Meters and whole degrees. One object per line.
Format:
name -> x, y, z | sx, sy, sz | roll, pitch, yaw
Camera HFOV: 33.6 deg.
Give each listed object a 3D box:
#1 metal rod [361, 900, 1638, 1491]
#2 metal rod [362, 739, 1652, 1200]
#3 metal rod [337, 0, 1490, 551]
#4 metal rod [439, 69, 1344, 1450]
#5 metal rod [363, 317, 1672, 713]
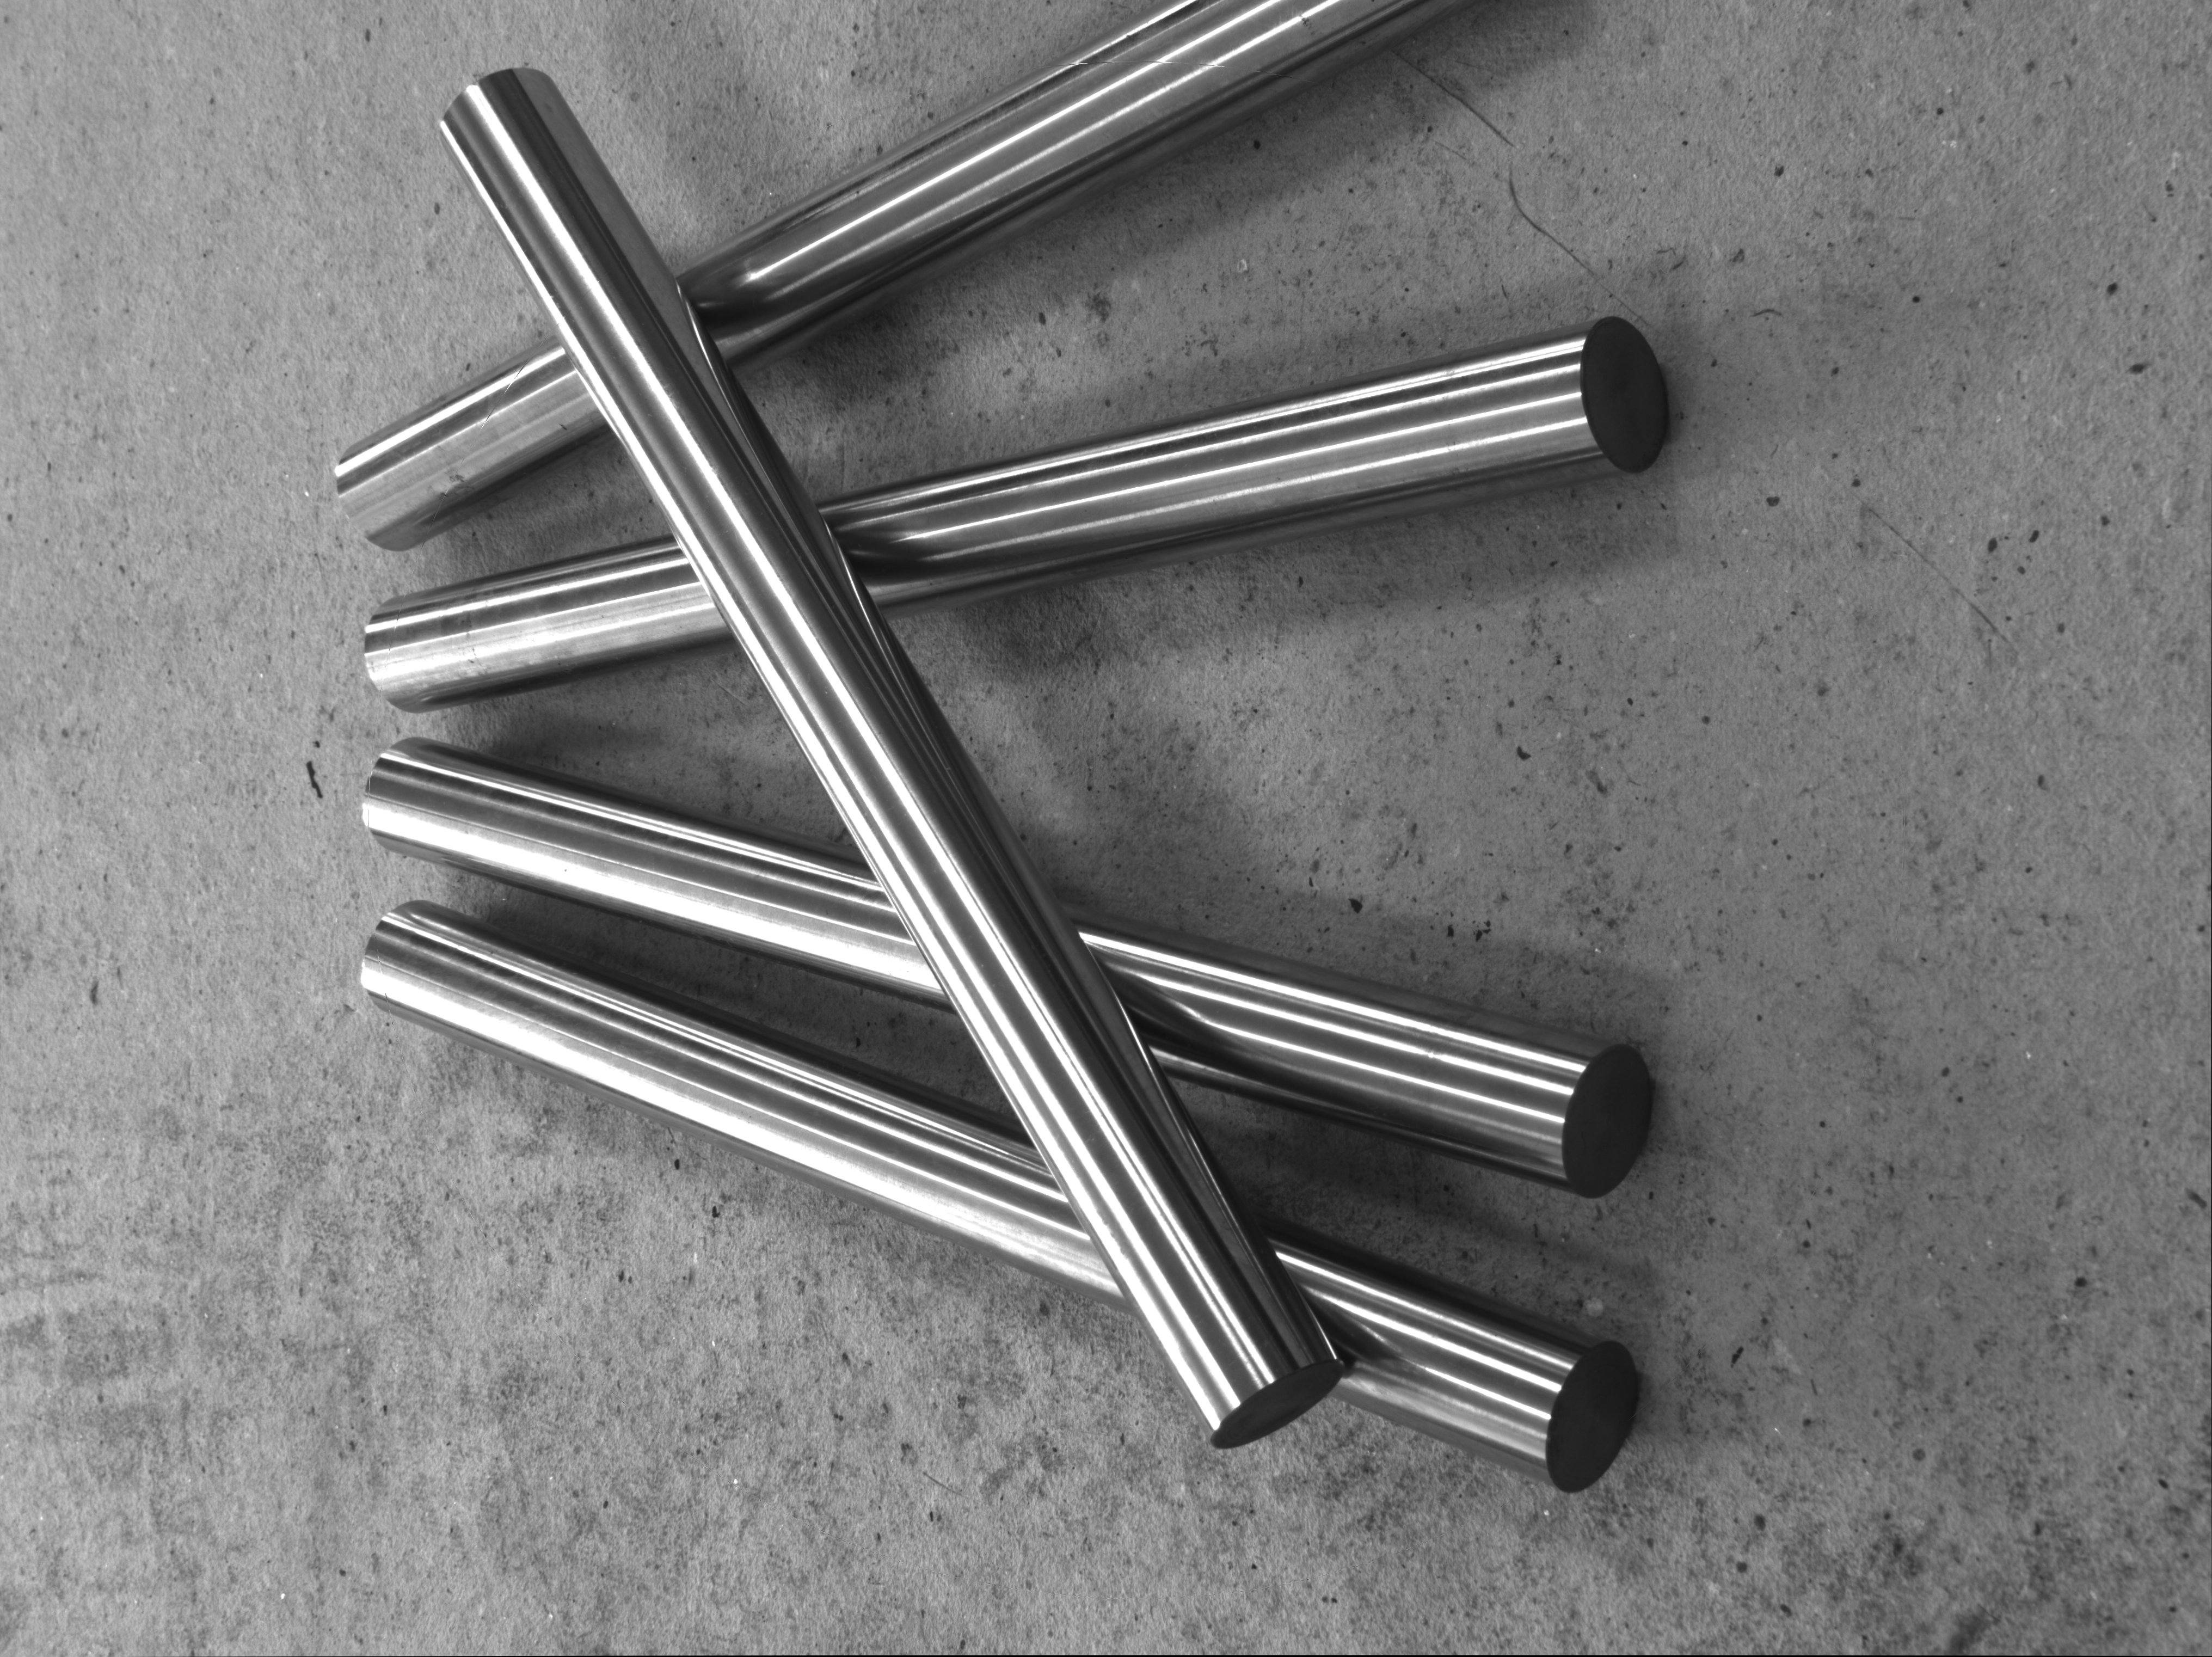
metal rod -> -0.034, 0.060, 0.674 | 0.299, 0.025, 0.025 | 16, 100, 39
metal rod -> -0.033, 0.020, 0.673 | 0.299, 0.025, 0.025 | 13, 98, 39
metal rod -> -0.042, -0.110, 0.681 | 0.299, 0.025, 0.025 | -20, 77, 38
metal rod -> -0.045, -0.023, 0.650 | 0.025, 0.025, 0.299 | -47, 62, 30
metal rod -> -0.032, -0.052, 0.672 | 0.299, 0.025, 0.025 | -8, 85, 40
